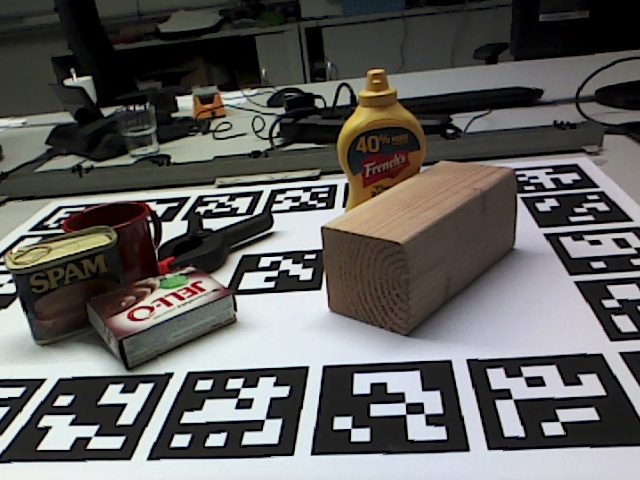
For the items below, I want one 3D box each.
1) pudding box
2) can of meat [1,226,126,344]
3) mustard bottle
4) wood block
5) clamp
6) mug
[{"bbox_3d":[-0.145,0.071,0.584,0.113,0.038,0.090,-21,29,-30],"label":"pudding box"},{"bbox_3d":[-0.244,0.043,0.604,0.101,0.083,0.058,-18,28,-21],"label":"can of meat"},{"bbox_3d":[0.066,-0.089,0.679,0.096,0.191,0.058,-7,26,3],"label":"mustard bottle"},{"bbox_3d":[0.106,0.003,0.605,0.090,0.091,0.205,13,30,40],"label":"wood block"},{"bbox_3d":[-0.137,0.001,0.739,0.122,0.036,0.165,6,31,23],"label":"clamp"},{"bbox_3d":[-0.222,0.020,0.711,0.094,0.081,0.117,6,30,27],"label":"mug"}]
